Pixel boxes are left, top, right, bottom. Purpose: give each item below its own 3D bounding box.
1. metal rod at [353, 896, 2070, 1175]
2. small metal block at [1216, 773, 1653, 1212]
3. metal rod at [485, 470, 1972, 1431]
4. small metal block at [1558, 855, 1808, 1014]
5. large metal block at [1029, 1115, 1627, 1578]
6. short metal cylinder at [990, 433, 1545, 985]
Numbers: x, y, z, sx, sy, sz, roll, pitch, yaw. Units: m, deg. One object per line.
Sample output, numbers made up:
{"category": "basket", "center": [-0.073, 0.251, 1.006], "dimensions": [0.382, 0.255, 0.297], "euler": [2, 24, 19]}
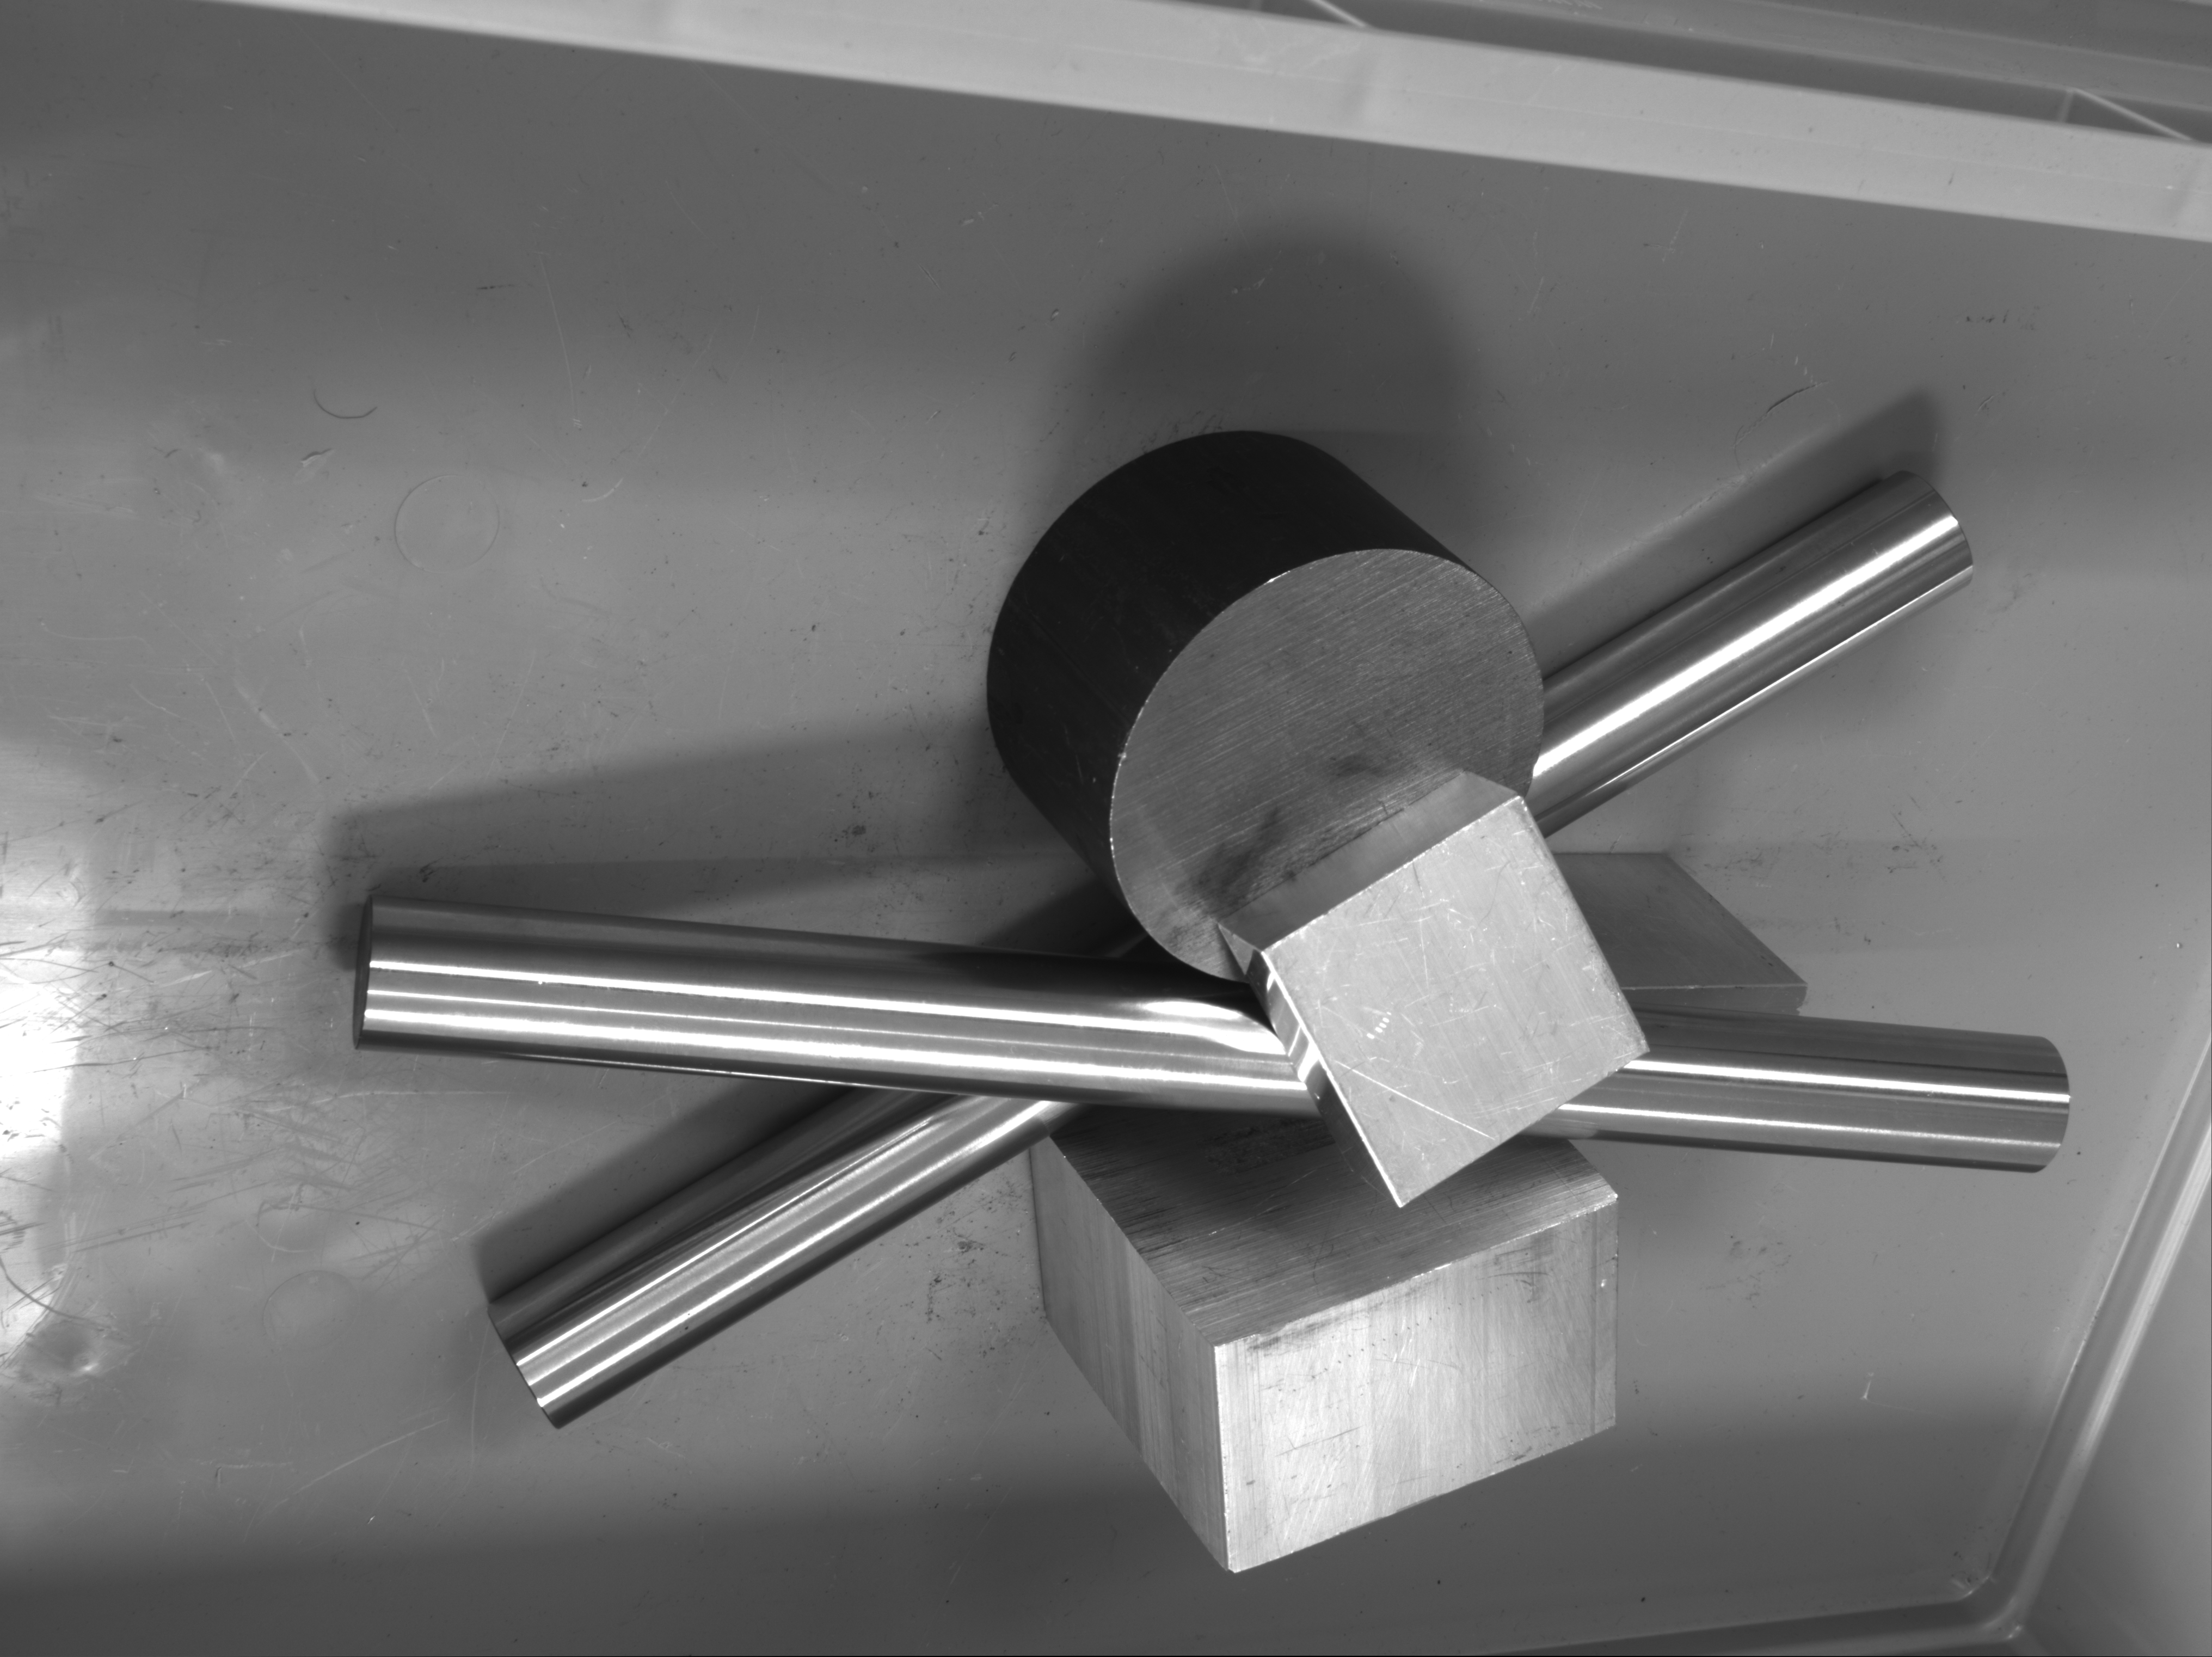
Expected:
{"category": "metal rod", "center": [0.025, 0.037, 0.627], "dimensions": [0.300, 0.025, 0.025], "euler": [5, 116, -16]}
{"category": "small metal block", "center": [0.054, 0.026, 0.607], "dimensions": [0.050, 0.025, 0.050], "euler": [-31, 106, -8]}
{"category": "metal rod", "center": [0.026, 0.019, 0.663], "dimensions": [0.300, 0.025, 0.025], "euler": [-30, 128, -9]}
{"category": "small metal block", "center": [0.094, 0.028, 0.688], "dimensions": [0.050, 0.050, 0.025], "euler": [1, 118, -27]}
{"category": "large metal block", "center": [0.039, 0.080, 0.669], "dimensions": [0.080, 0.080, 0.050], "euler": [-17, 125, -19]}
{"category": "short metal cylinder", "center": [0.027, -0.020, 0.622], "dimensions": [0.080, 0.050, 0.080], "euler": [-13, 123, -21]}
